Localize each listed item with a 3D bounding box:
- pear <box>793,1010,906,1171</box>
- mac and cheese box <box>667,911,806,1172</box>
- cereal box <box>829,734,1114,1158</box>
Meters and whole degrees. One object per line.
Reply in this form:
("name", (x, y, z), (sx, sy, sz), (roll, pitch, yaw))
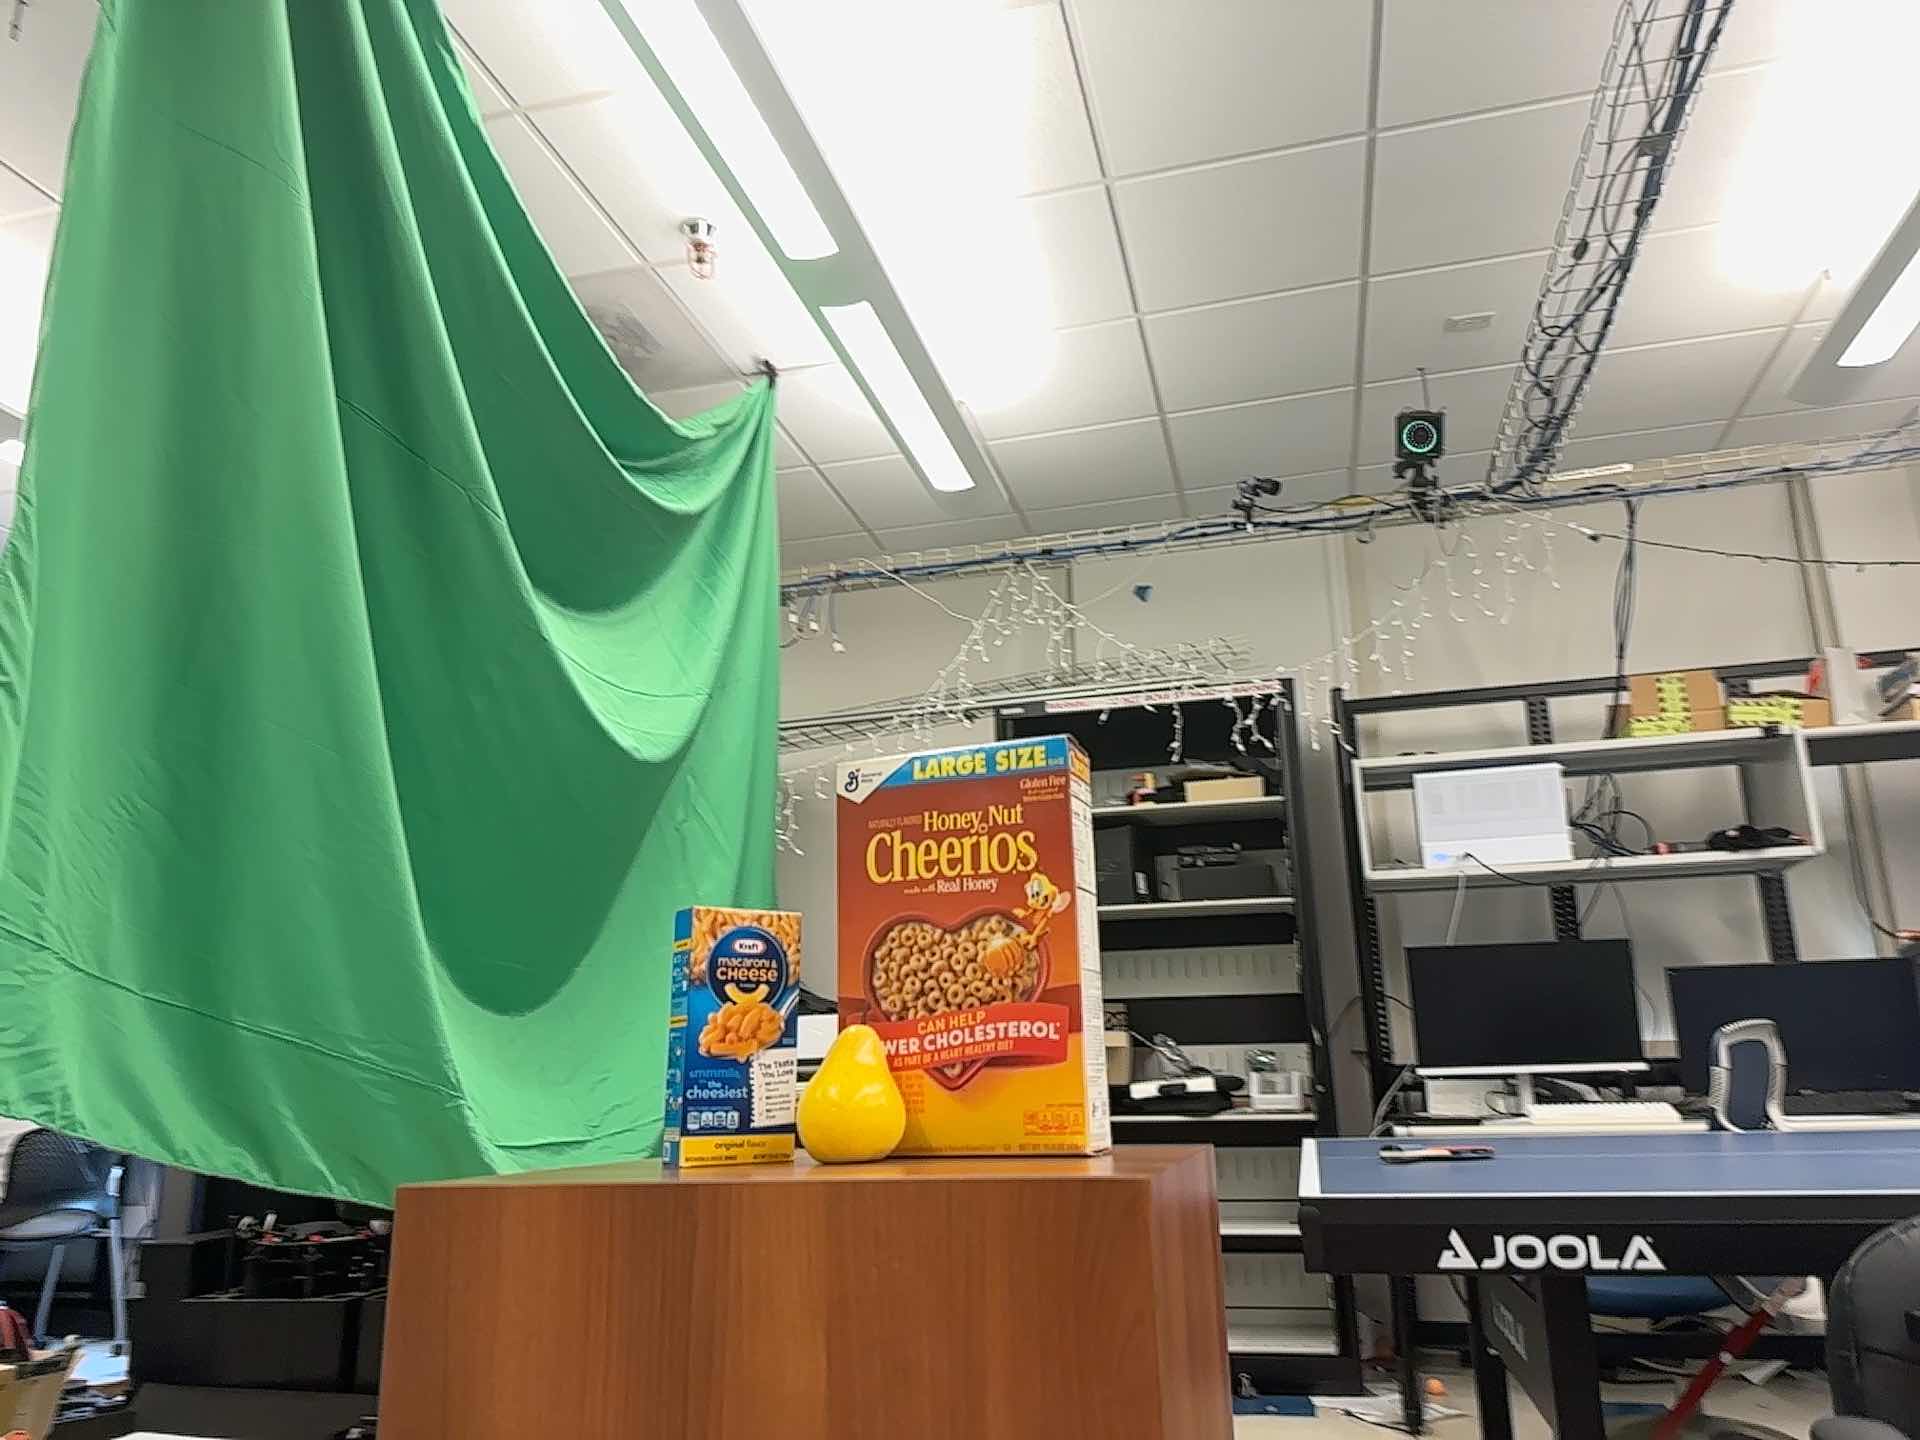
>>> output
("pear", (-0.076, 0.259, 0.950), (0.080, 0.111, 0.080), (2, -18, 1))
("mac and cheese box", (-0.165, 0.238, 1.004), (0.088, 0.181, 0.035), (8, -17, -28))
("cereal box", (0.004, 0.175, 1.032), (0.195, 0.297, 0.065), (-7, -15, 19))
